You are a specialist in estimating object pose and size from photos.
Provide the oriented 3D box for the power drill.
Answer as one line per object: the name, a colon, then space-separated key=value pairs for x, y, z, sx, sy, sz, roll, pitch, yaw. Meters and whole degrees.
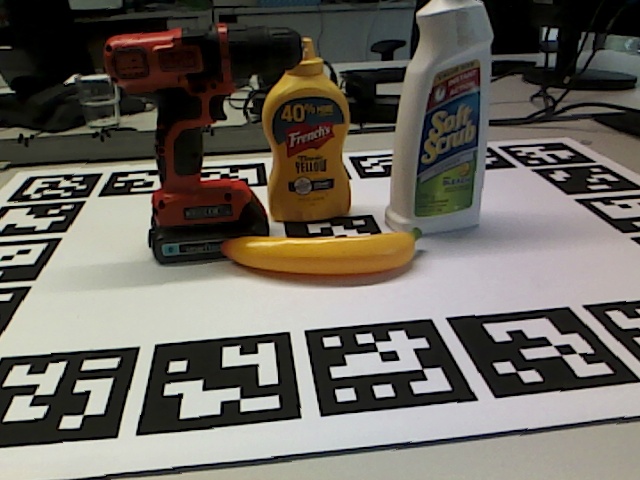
power drill: x=-0.107 y=-0.100 z=0.603 sx=0.184 sy=0.186 sz=0.057 roll=-3 pitch=19 yaw=-10

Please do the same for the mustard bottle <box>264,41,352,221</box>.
mustard bottle: x=-0.013 y=-0.117 z=0.675 sx=0.096 sy=0.191 sz=0.058 roll=-3 pitch=26 yaw=-6

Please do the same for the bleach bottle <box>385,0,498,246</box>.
bleach bottle: x=0.123 y=-0.120 z=0.627 sx=0.102 sy=0.250 sz=0.068 roll=-8 pitch=28 yaw=-13

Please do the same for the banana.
banana: x=0.011 y=0.012 z=0.580 sx=0.197 sy=0.039 sz=0.074 roll=-4 pitch=30 yaw=-2
